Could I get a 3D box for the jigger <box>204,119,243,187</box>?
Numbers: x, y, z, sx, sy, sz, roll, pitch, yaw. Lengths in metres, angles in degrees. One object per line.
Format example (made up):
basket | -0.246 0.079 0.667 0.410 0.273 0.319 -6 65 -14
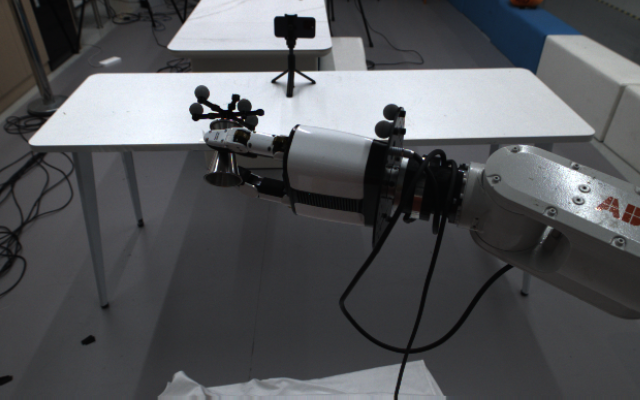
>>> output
jigger | -0.110 -0.055 0.562 0.043 0.043 0.071 1 70 -2
